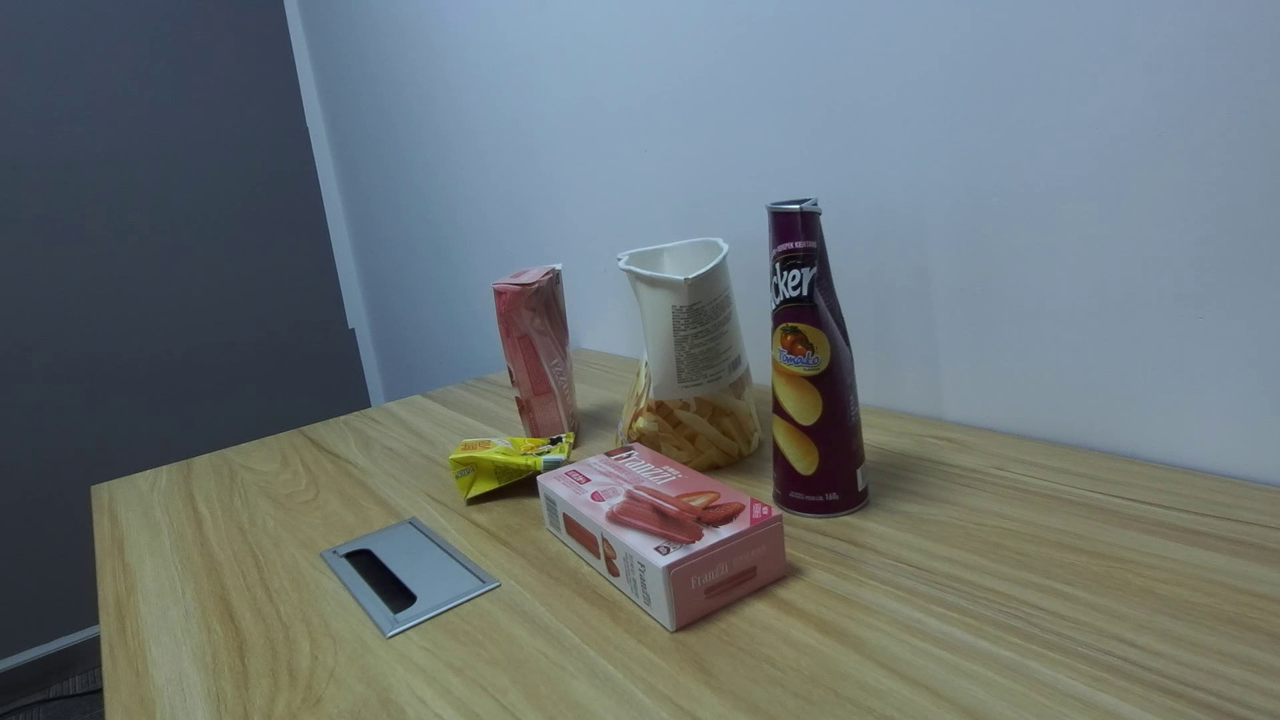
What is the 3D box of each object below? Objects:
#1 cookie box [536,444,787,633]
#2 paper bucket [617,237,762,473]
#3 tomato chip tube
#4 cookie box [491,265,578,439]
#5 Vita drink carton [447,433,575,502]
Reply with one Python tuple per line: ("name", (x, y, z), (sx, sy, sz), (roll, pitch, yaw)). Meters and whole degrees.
("cookie box", (0.008, 0.117, 0.513), (0.096, 0.048, 0.183), (-16, 17, -29))
("paper bucket", (0.038, -0.009, 0.681), (0.148, 0.199, 0.217), (-15, 16, -30))
("tomato chip tube", (0.133, -0.003, 0.539), (0.078, 0.235, 0.076), (-14, 16, -26))
("cookie box", (-0.103, -0.002, 0.753), (0.055, 0.184, 0.118), (-5, 14, 7))
("Vita drink carton", (-0.115, 0.098, 0.660), (0.108, 0.042, 0.087), (-4, 8, -1))
